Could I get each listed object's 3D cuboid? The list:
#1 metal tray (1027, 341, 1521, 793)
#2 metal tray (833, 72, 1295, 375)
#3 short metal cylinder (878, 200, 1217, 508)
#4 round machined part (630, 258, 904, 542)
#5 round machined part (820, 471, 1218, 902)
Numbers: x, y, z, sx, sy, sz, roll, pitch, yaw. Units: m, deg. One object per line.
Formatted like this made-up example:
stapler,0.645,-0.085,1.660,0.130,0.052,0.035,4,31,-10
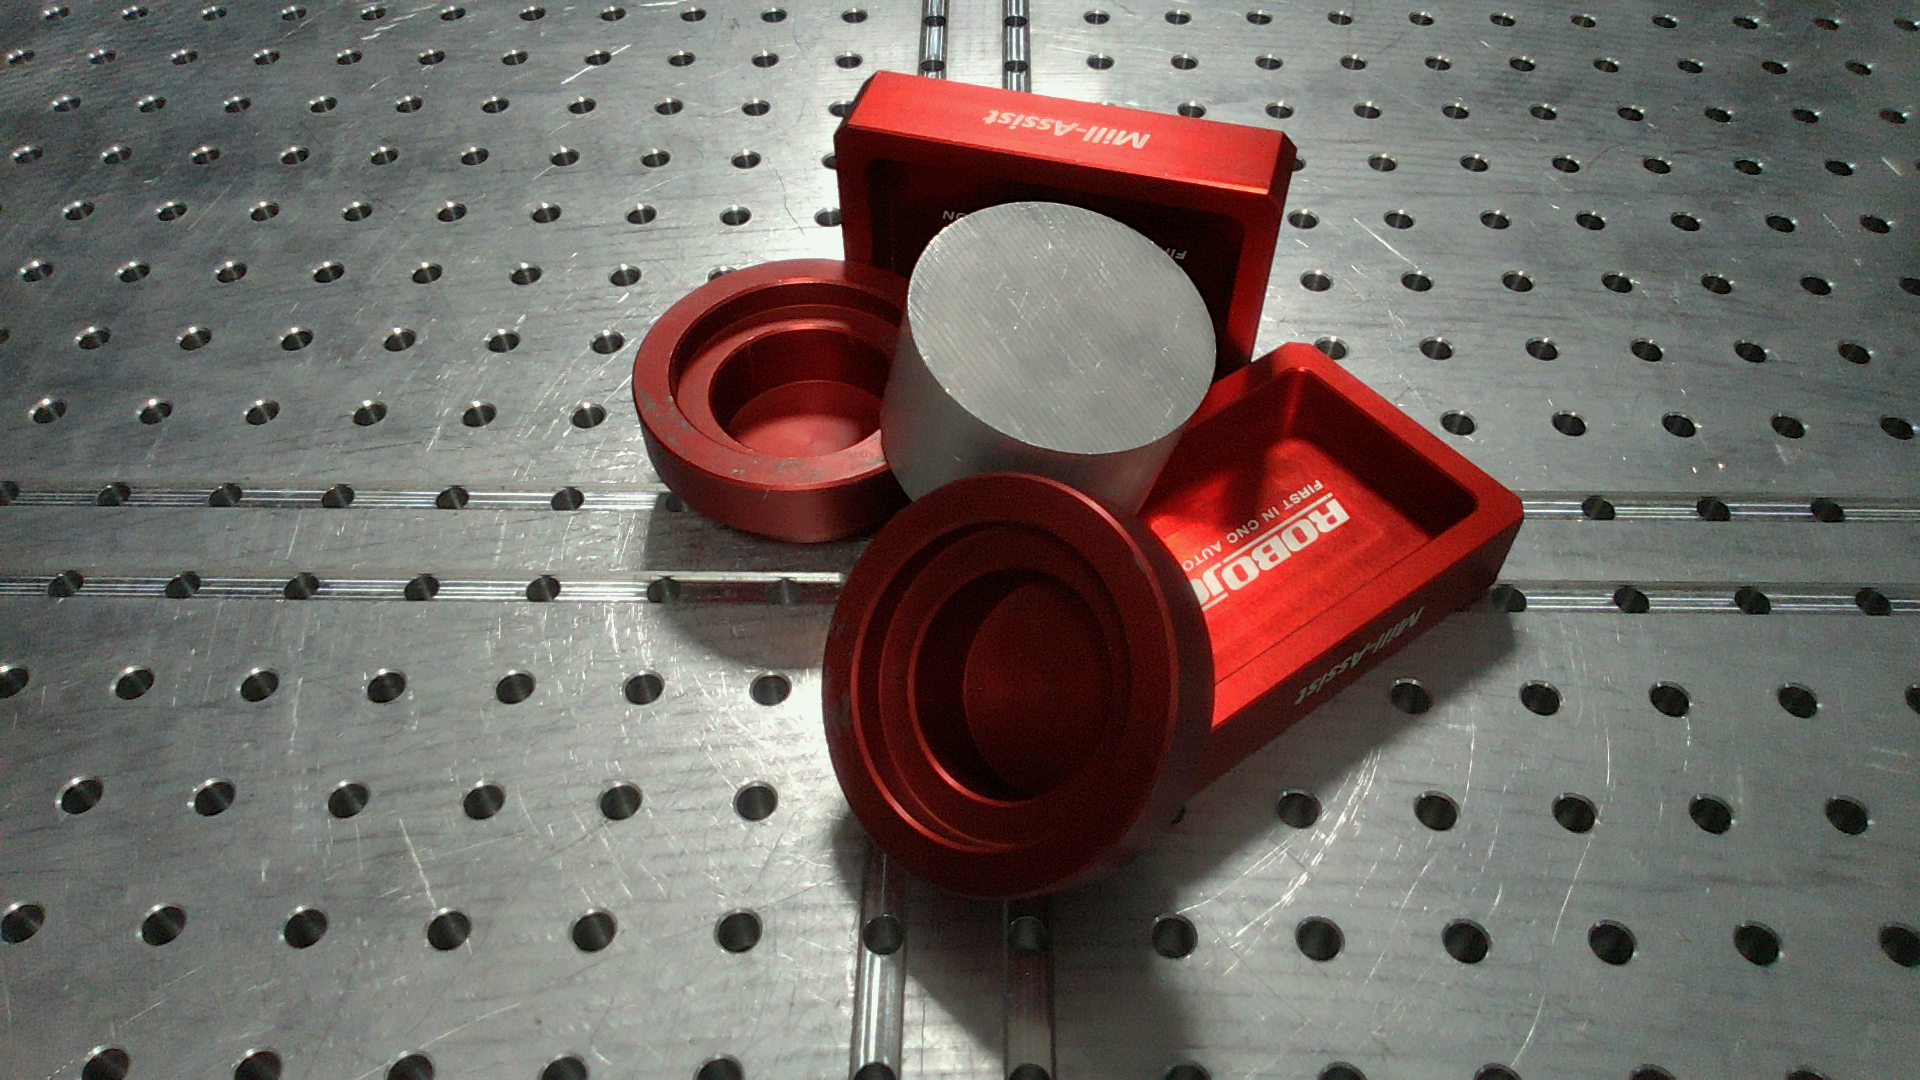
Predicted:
metal tray,0.079,0.003,0.388,0.130,0.030,0.090,-30,56,-23
metal tray,0.030,-0.089,0.426,0.130,0.090,0.030,12,51,10
short metal cylinder,0.021,-0.043,0.366,0.080,0.050,0.080,6,58,-10
round machined part,-0.047,-0.038,0.416,0.098,0.042,0.098,0,50,0
round machined part,0.017,0.035,0.331,0.098,0.042,0.098,-6,79,33
